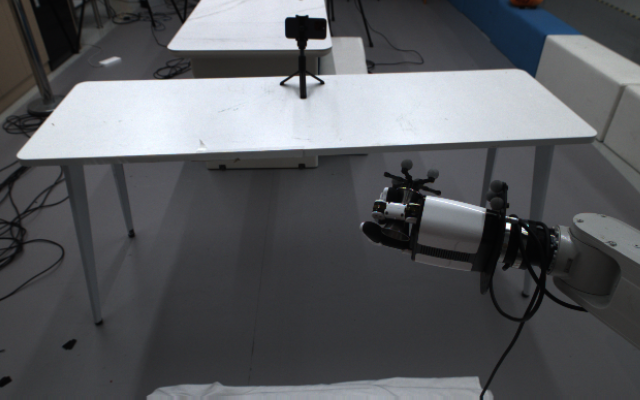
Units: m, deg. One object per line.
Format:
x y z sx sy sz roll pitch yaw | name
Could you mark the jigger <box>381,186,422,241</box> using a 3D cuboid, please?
0.120 0.017 0.707 0.043 0.043 0.071 16 70 19 | jigger
